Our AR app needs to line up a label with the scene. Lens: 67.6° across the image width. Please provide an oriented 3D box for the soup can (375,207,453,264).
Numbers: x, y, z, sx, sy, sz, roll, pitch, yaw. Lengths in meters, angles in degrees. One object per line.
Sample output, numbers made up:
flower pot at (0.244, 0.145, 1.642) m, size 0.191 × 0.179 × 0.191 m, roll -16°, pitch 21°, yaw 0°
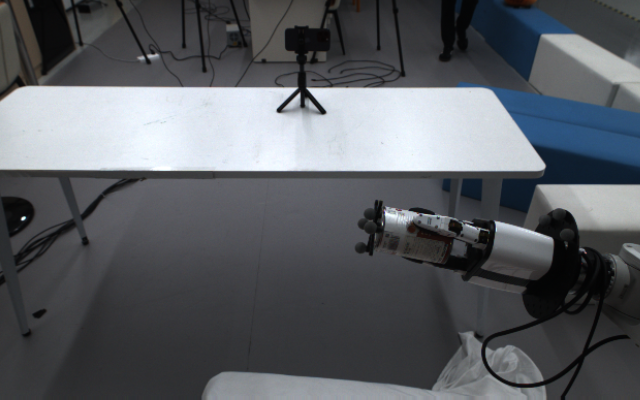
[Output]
soup can at (0.134, 0.048, 0.693) m, size 0.101 × 0.067 × 0.067 m, roll 10°, pitch 35°, yaw -2°
